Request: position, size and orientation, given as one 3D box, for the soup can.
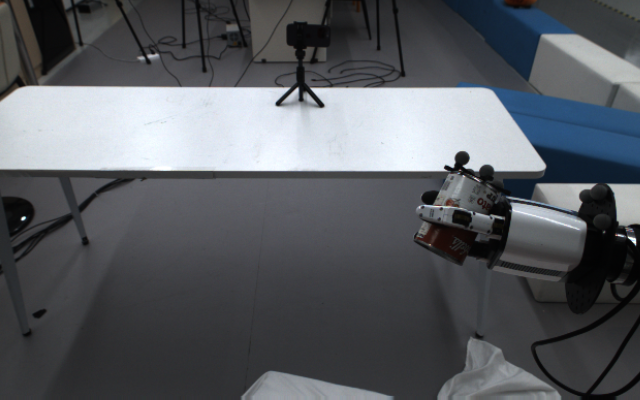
[{"bbox_3d":[0.174,0.022,0.613,0.067,0.101,0.067,28,-3,2],"label":"soup can"}]
